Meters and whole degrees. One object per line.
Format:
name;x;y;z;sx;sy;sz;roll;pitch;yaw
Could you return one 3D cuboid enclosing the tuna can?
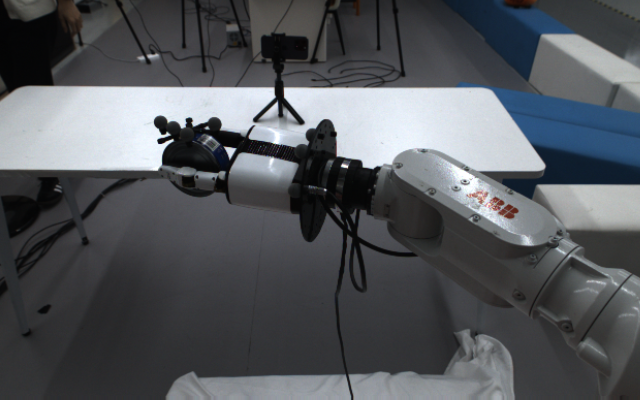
tuna can;-0.165;-0.049;0.653;0.085;0.085;0.034;11;33;13
